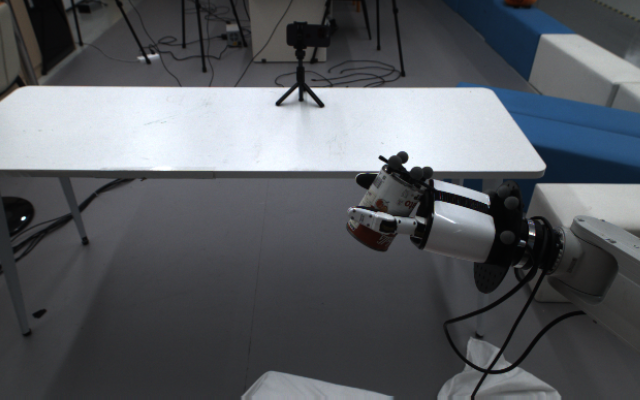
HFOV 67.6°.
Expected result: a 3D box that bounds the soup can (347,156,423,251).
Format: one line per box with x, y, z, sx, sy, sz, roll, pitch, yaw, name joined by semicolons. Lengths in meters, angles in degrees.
0.090;0.010;0.663;0.067;0.101;0.067;27;18;-9;soup can
